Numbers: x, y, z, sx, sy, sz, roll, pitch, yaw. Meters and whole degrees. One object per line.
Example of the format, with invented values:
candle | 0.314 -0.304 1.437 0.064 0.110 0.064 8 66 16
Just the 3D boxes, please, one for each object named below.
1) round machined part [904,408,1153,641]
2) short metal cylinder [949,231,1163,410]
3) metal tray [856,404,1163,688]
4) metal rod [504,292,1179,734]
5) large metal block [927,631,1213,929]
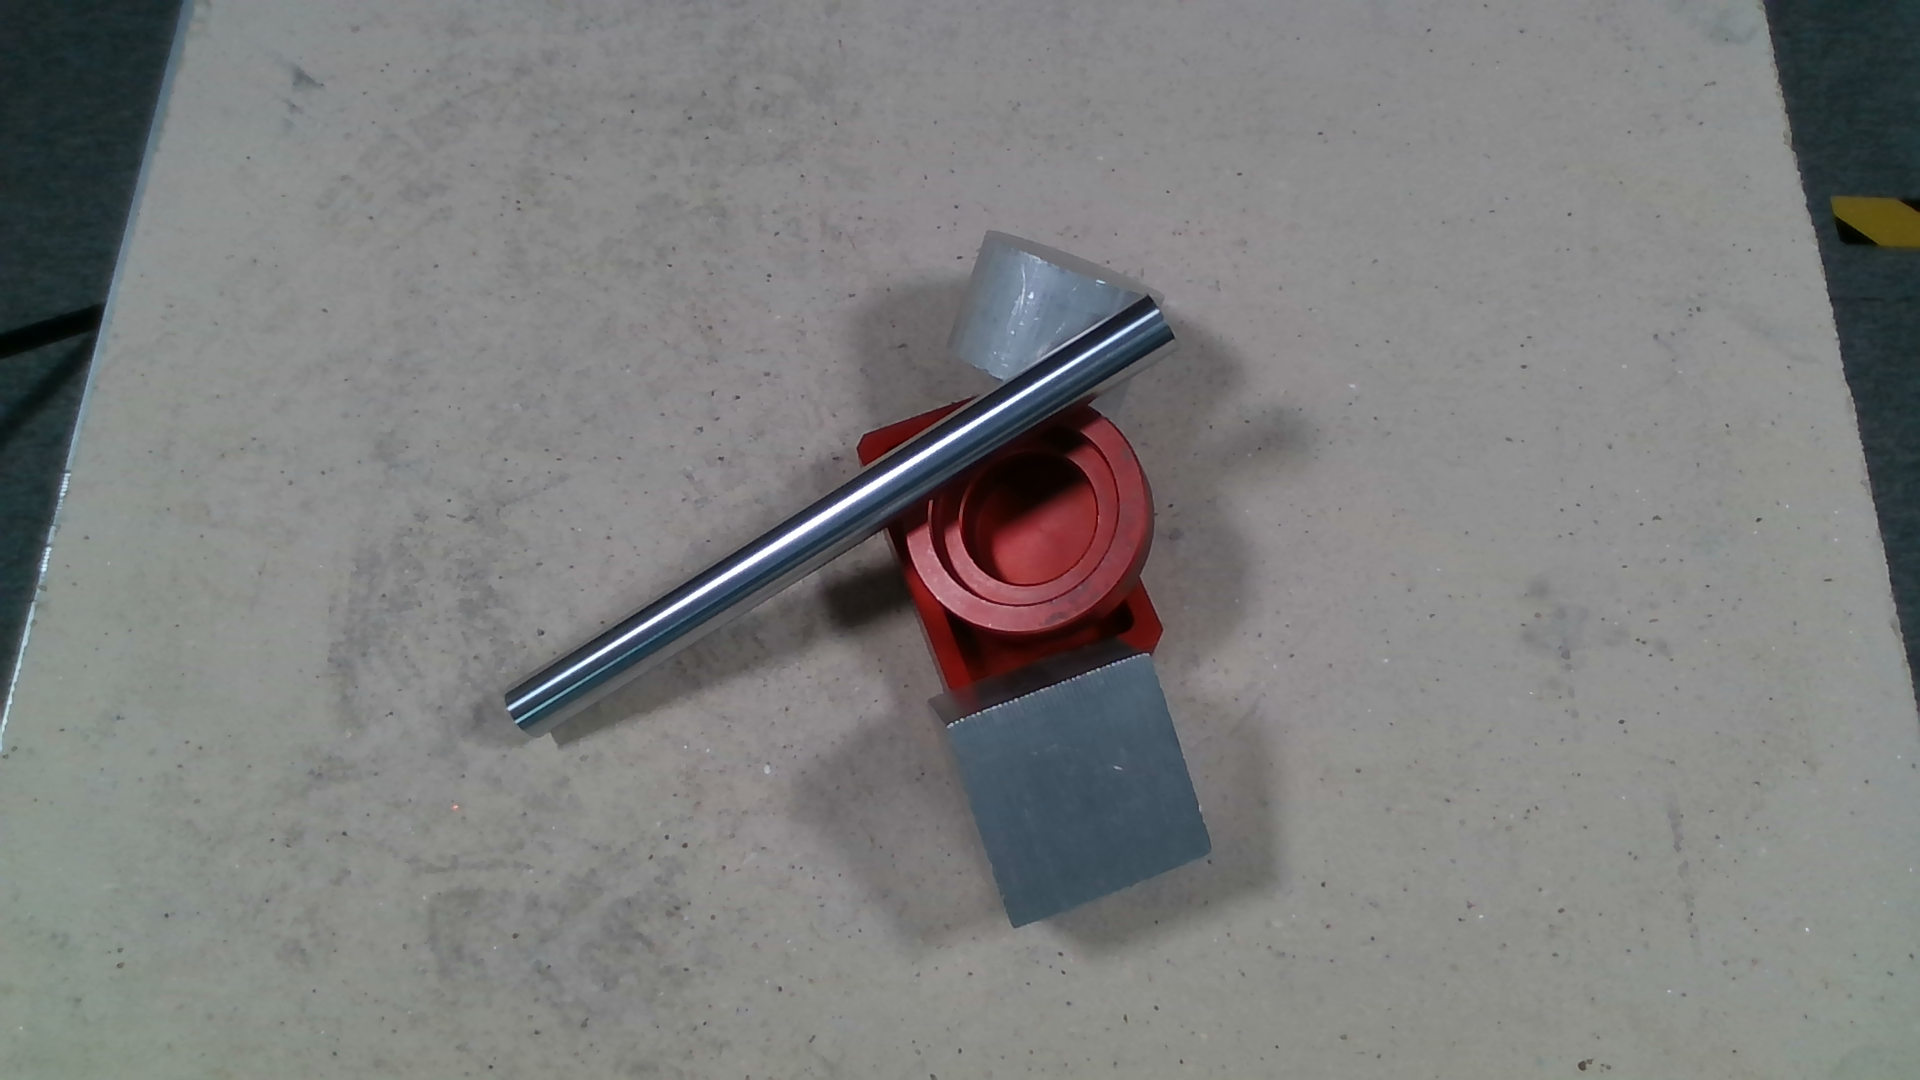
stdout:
round machined part | 0.030 -0.007 0.556 0.098 0.042 0.098 -4 74 14
short metal cylinder | 0.040 -0.094 0.586 0.080 0.080 0.050 22 107 8
metal tray | 0.019 0.003 0.584 0.090 0.030 0.130 -20 72 -7
metal rod | -0.051 -0.008 0.545 0.300 0.025 0.025 -31 72 7
large metal block | 0.040 0.089 0.525 0.080 0.050 0.080 -19 97 -7
